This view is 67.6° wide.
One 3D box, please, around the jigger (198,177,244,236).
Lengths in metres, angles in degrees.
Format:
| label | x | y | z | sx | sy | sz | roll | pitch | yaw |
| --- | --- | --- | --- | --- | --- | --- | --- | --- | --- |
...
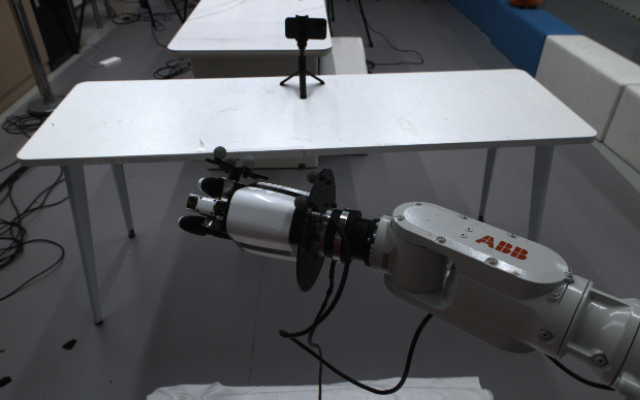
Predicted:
| label | x | y | z | sx | sy | sz | roll | pitch | yaw |
| --- | --- | --- | --- | --- | --- | --- | --- | --- | --- |
| jigger | -0.127 | 0.007 | 0.645 | 0.043 | 0.071 | 0.043 | 18 | -6 | 2 |
